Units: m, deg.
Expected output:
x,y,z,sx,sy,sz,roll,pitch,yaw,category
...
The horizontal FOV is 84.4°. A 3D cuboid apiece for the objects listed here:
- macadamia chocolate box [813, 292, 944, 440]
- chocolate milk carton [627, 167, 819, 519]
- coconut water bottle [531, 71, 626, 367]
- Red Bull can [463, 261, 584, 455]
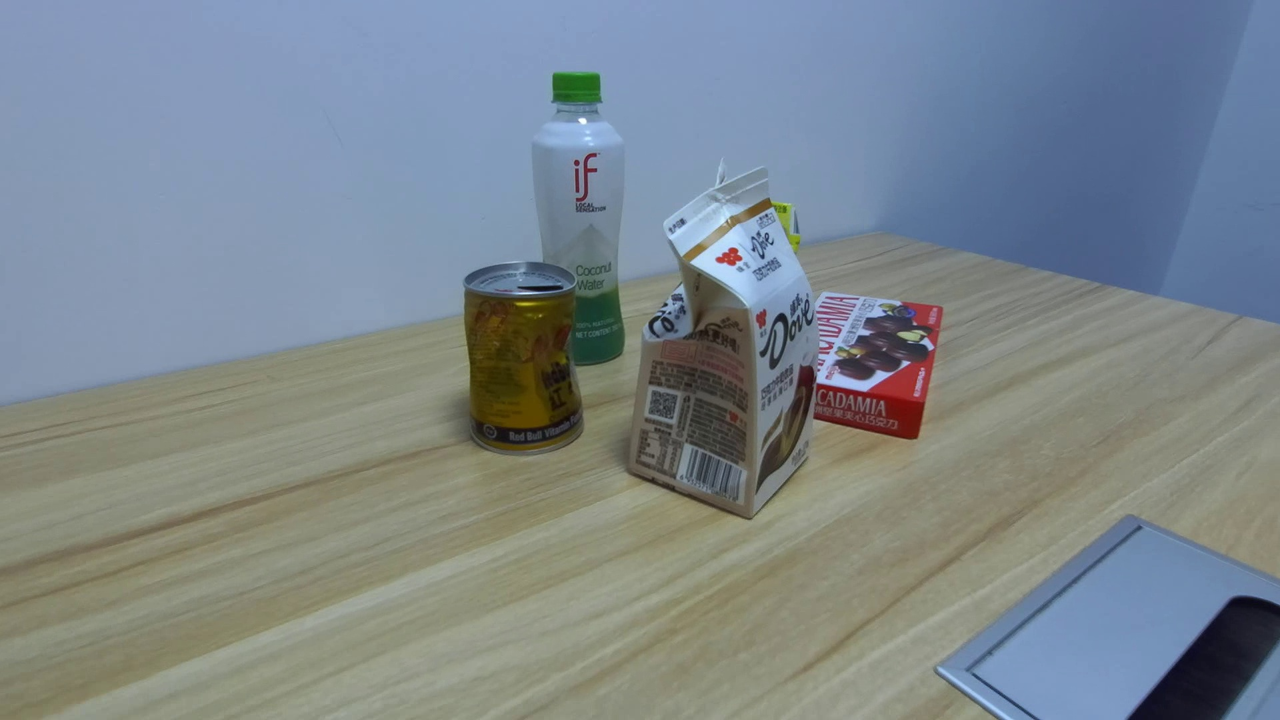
x,y,z,sx,sy,sz,roll,pitch,yaw,category
0.154,-0.005,0.489,0.095,0.027,0.178,10,26,23,macadamia chocolate box
0.043,-0.015,0.345,0.073,0.155,0.076,14,26,31,chocolate milk carton
-0.041,-0.093,0.478,0.063,0.188,0.063,0,20,0,coconut water bottle
-0.064,-0.002,0.392,0.072,0.092,0.072,1,22,0,Red Bull can
